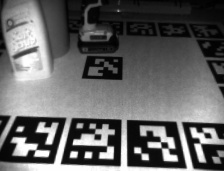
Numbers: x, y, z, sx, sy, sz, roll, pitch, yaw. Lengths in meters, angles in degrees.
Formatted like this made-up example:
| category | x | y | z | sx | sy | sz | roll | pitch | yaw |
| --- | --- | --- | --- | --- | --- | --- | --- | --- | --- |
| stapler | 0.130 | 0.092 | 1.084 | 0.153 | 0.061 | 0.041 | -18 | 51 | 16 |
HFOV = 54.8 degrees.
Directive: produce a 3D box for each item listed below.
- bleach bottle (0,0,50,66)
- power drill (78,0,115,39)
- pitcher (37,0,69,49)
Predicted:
| category | x | y | z | sx | sy | sz | roll | pitch | yaw |
| --- | --- | --- | --- | --- | --- | --- | --- | --- | --- |
| bleach bottle | -0.207 | -0.157 | 0.463 | 0.103 | 0.252 | 0.067 | -4 | 46 | -3 |
| power drill | -0.022 | -0.215 | 0.567 | 0.185 | 0.187 | 0.057 | 1 | 48 | -7 |
| pitcher | -0.191 | -0.215 | 0.549 | 0.190 | 0.244 | 0.132 | -18 | 50 | -17 |
